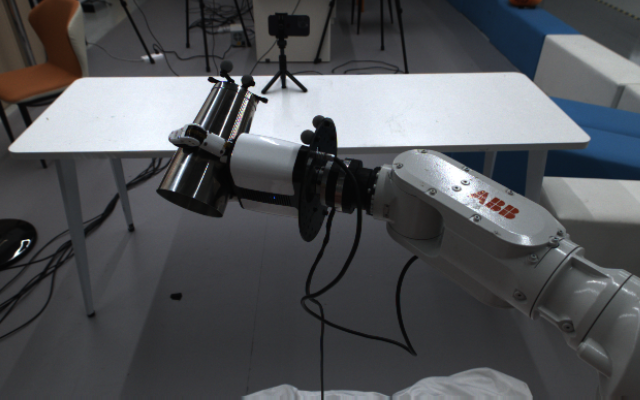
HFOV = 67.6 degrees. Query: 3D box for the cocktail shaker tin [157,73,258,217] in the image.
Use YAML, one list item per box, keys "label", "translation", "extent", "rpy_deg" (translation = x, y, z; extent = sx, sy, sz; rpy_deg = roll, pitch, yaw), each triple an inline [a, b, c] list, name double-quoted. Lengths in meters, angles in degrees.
- label: "cocktail shaker tin"
  translation: [-0.145, -0.071, 0.658]
  extent: [0.093, 0.093, 0.170]
  rpy_deg: [14, 73, 17]
